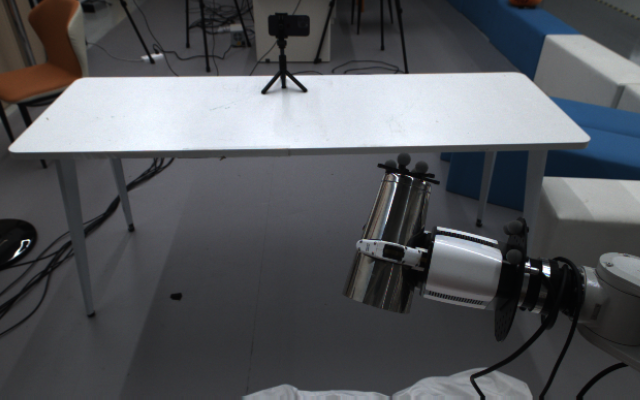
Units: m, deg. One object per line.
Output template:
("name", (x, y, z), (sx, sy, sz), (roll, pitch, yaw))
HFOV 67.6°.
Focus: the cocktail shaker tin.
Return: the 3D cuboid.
("cocktail shaker tin", (0.097, 0.055, 0.647), (0.093, 0.170, 0.093), (15, -4, 1))
